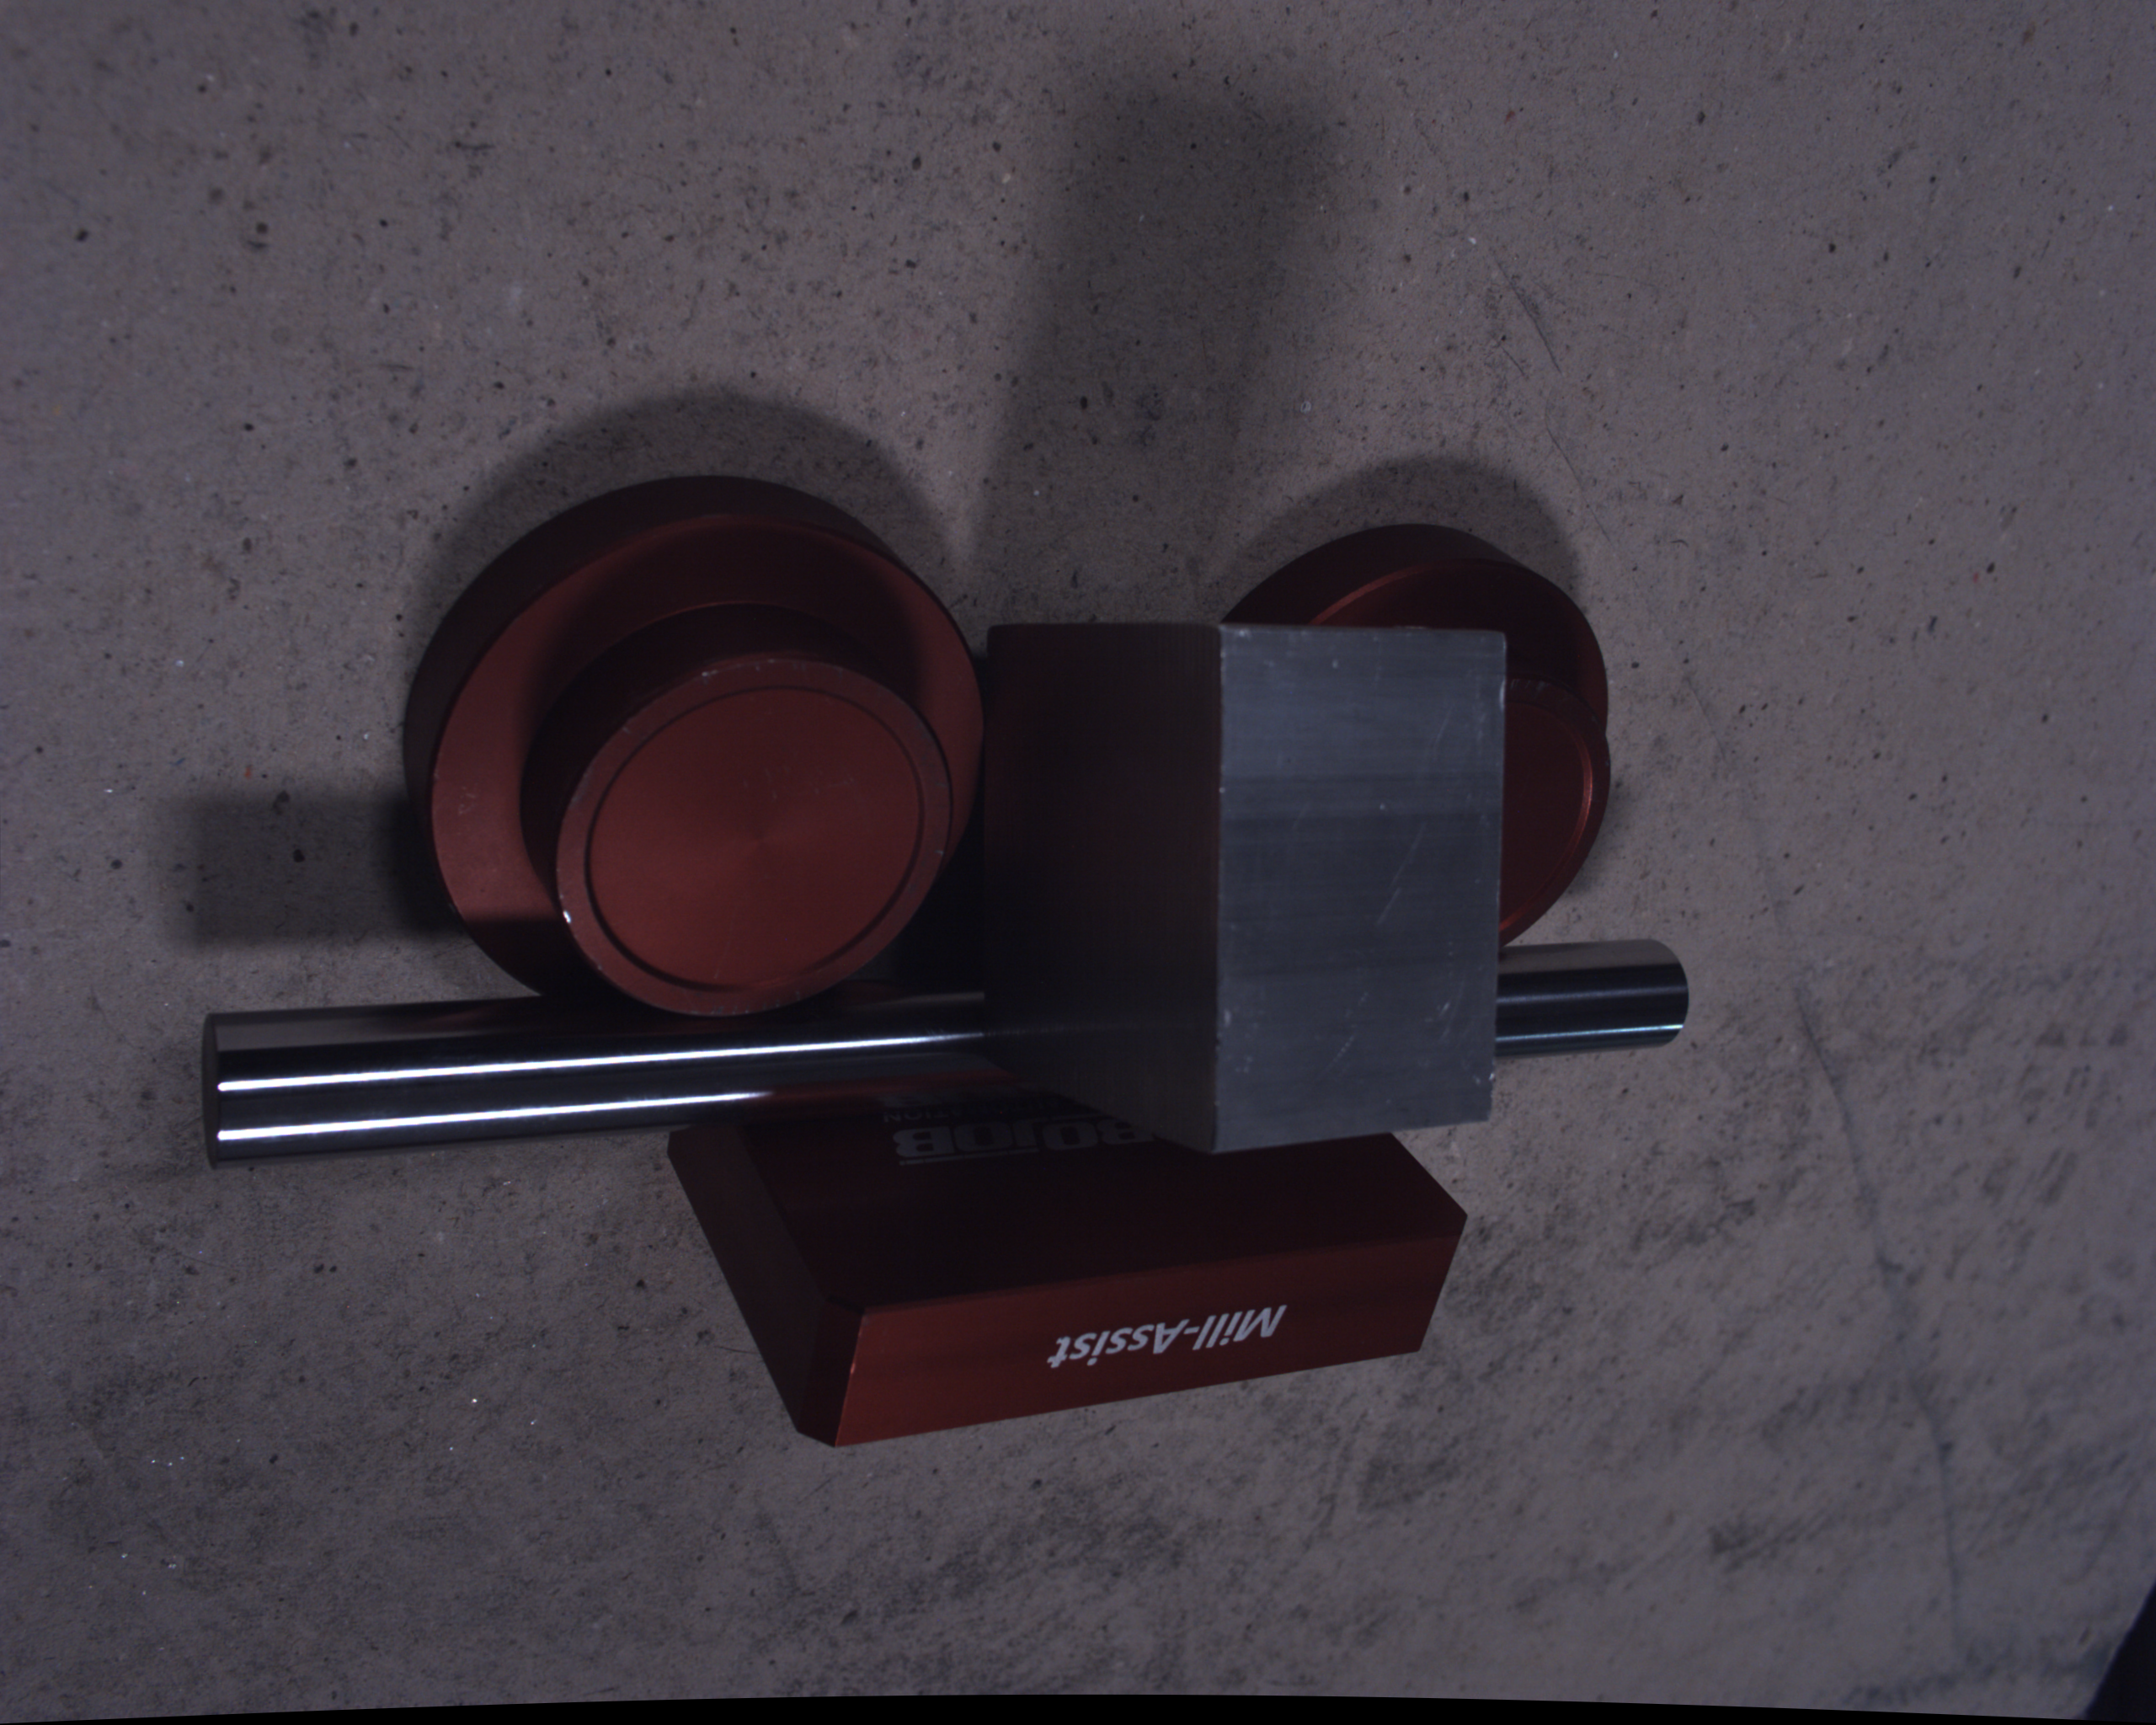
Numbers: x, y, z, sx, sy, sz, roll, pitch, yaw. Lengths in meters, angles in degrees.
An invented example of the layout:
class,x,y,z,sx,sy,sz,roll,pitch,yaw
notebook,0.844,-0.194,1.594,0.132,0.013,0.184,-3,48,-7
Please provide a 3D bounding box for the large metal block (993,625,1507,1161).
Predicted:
class,x,y,z,sx,sy,sz,roll,pitch,yaw
large metal block,0.026,0.000,0.354,0.050,0.080,0.079,-2,96,-28

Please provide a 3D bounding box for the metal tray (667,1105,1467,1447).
class,x,y,z,sx,sy,sz,roll,pitch,yaw
metal tray,-0.003,0.062,0.404,0.131,0.090,0.030,-1,119,-28

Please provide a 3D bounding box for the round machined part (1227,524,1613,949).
class,x,y,z,sx,sy,sz,roll,pitch,yaw
round machined part,0.069,-0.016,0.426,0.099,0.042,0.097,-14,125,-21

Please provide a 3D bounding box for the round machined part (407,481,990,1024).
class,x,y,z,sx,sy,sz,roll,pitch,yaw
round machined part,-0.060,-0.012,0.356,0.099,0.042,0.097,-14,125,-21

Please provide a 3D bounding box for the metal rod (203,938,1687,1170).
class,x,y,z,sx,sy,sz,roll,pitch,yaw
metal rod,-0.004,0.033,0.401,0.303,0.025,0.025,-1,119,-28
